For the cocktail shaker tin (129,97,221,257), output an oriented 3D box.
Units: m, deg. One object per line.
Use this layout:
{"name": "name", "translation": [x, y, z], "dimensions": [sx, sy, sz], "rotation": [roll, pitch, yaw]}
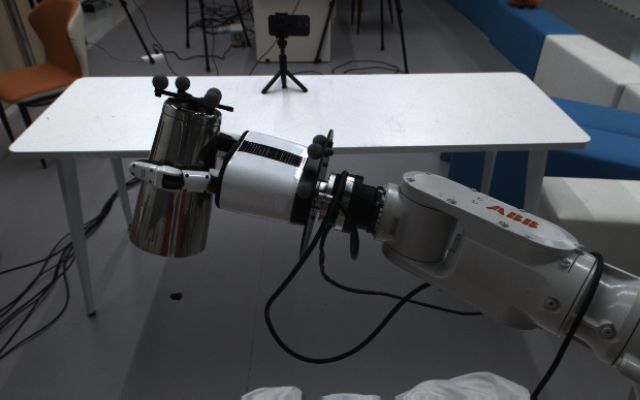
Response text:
{"name": "cocktail shaker tin", "translation": [-0.167, -0.028, 0.576], "dimensions": [0.093, 0.170, 0.093], "rotation": [14, 17, -5]}
